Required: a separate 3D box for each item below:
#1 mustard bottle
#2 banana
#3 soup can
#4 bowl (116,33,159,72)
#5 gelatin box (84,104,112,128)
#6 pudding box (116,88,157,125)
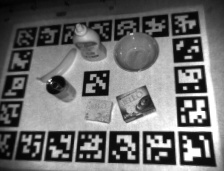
[{"bbox_3d":[-0.086,-0.145,0.754,0.095,0.193,0.058,-2,68,13],"label":"mustard bottle"},{"bbox_3d":[-0.211,-0.072,0.851,0.197,0.039,0.073,-46,58,-6],"label":"banana"},{"bbox_3d":[-0.185,0.019,0.769,0.067,0.103,0.067,-4,69,10],"label":"soup can"},{"bbox_3d":[0.098,-0.107,0.790,0.161,0.056,0.161,-4,70,12],"label":"bowl"},{"bbox_3d":[-0.050,0.106,0.758,0.089,0.030,0.073,5,75,15],"label":"gelatin box"},{"bbox_3d":[0.083,0.073,0.736,0.114,0.039,0.089,-24,73,3],"label":"pudding box"}]
